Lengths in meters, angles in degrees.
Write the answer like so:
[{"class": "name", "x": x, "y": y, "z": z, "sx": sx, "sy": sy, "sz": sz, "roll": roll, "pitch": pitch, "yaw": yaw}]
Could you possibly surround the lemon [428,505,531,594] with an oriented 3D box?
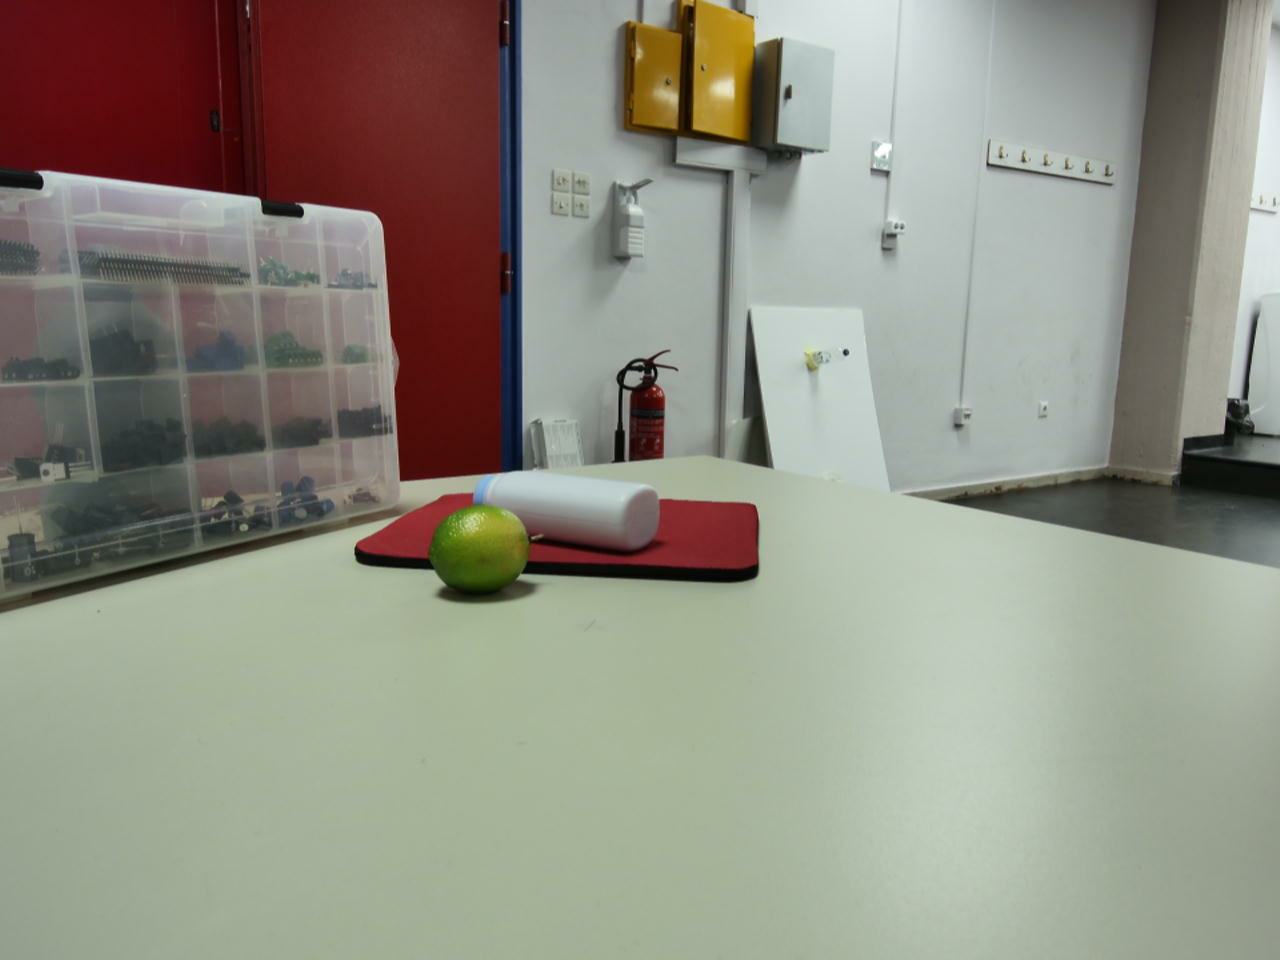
[{"class": "lemon", "x": -0.092, "y": 0.039, "z": 0.576, "sx": 0.055, "sy": 0.050, "sz": 0.054, "roll": 1, "pitch": 8, "yaw": 14}]
